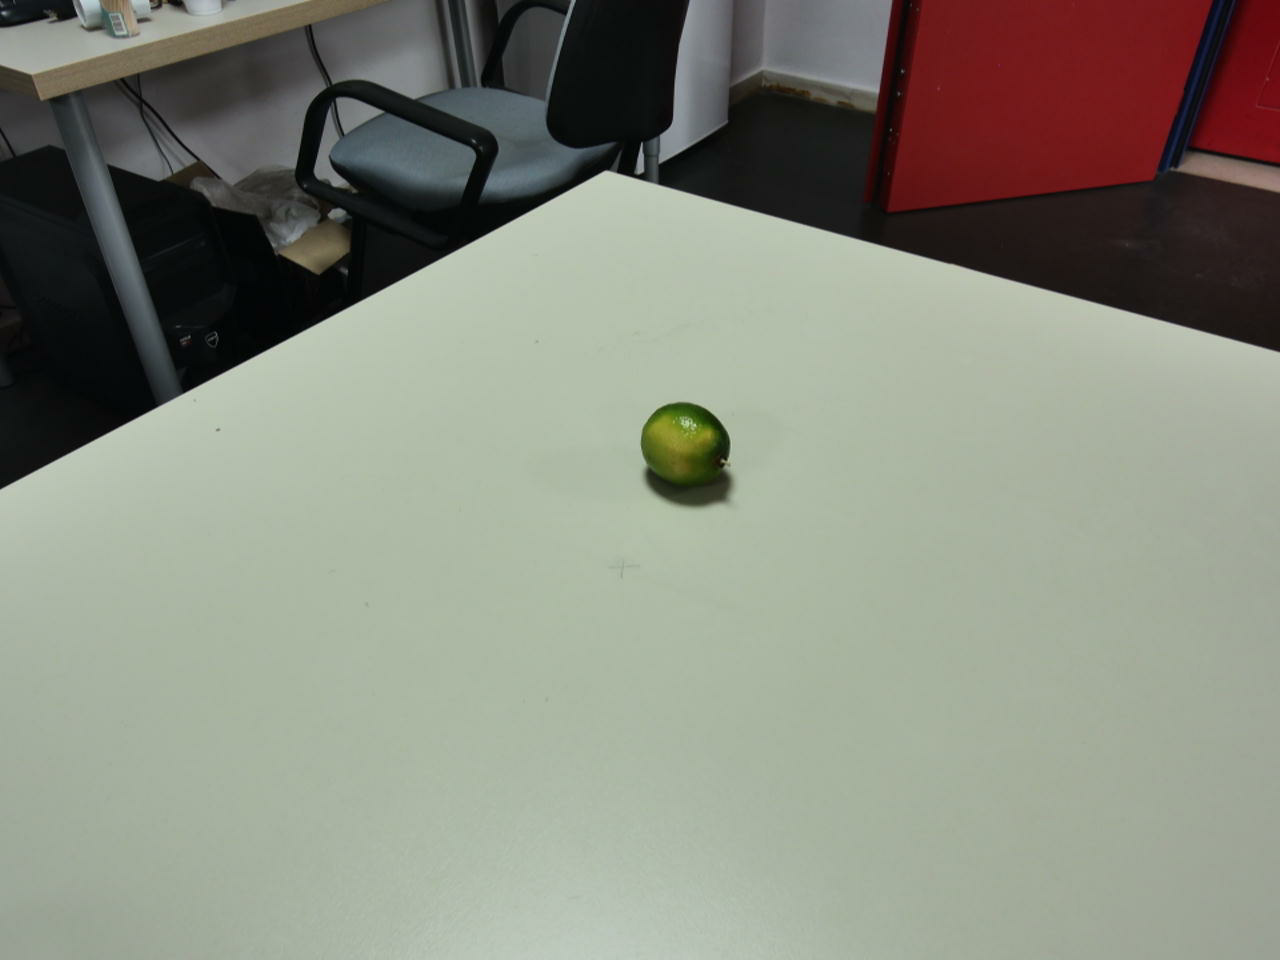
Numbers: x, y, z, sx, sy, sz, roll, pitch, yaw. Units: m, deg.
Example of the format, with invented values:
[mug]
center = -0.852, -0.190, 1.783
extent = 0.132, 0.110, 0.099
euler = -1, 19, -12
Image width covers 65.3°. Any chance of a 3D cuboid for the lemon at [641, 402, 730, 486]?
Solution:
[lemon]
center = 0.028, -0.022, 0.619
extent = 0.054, 0.050, 0.055
euler = -1, 38, -2
